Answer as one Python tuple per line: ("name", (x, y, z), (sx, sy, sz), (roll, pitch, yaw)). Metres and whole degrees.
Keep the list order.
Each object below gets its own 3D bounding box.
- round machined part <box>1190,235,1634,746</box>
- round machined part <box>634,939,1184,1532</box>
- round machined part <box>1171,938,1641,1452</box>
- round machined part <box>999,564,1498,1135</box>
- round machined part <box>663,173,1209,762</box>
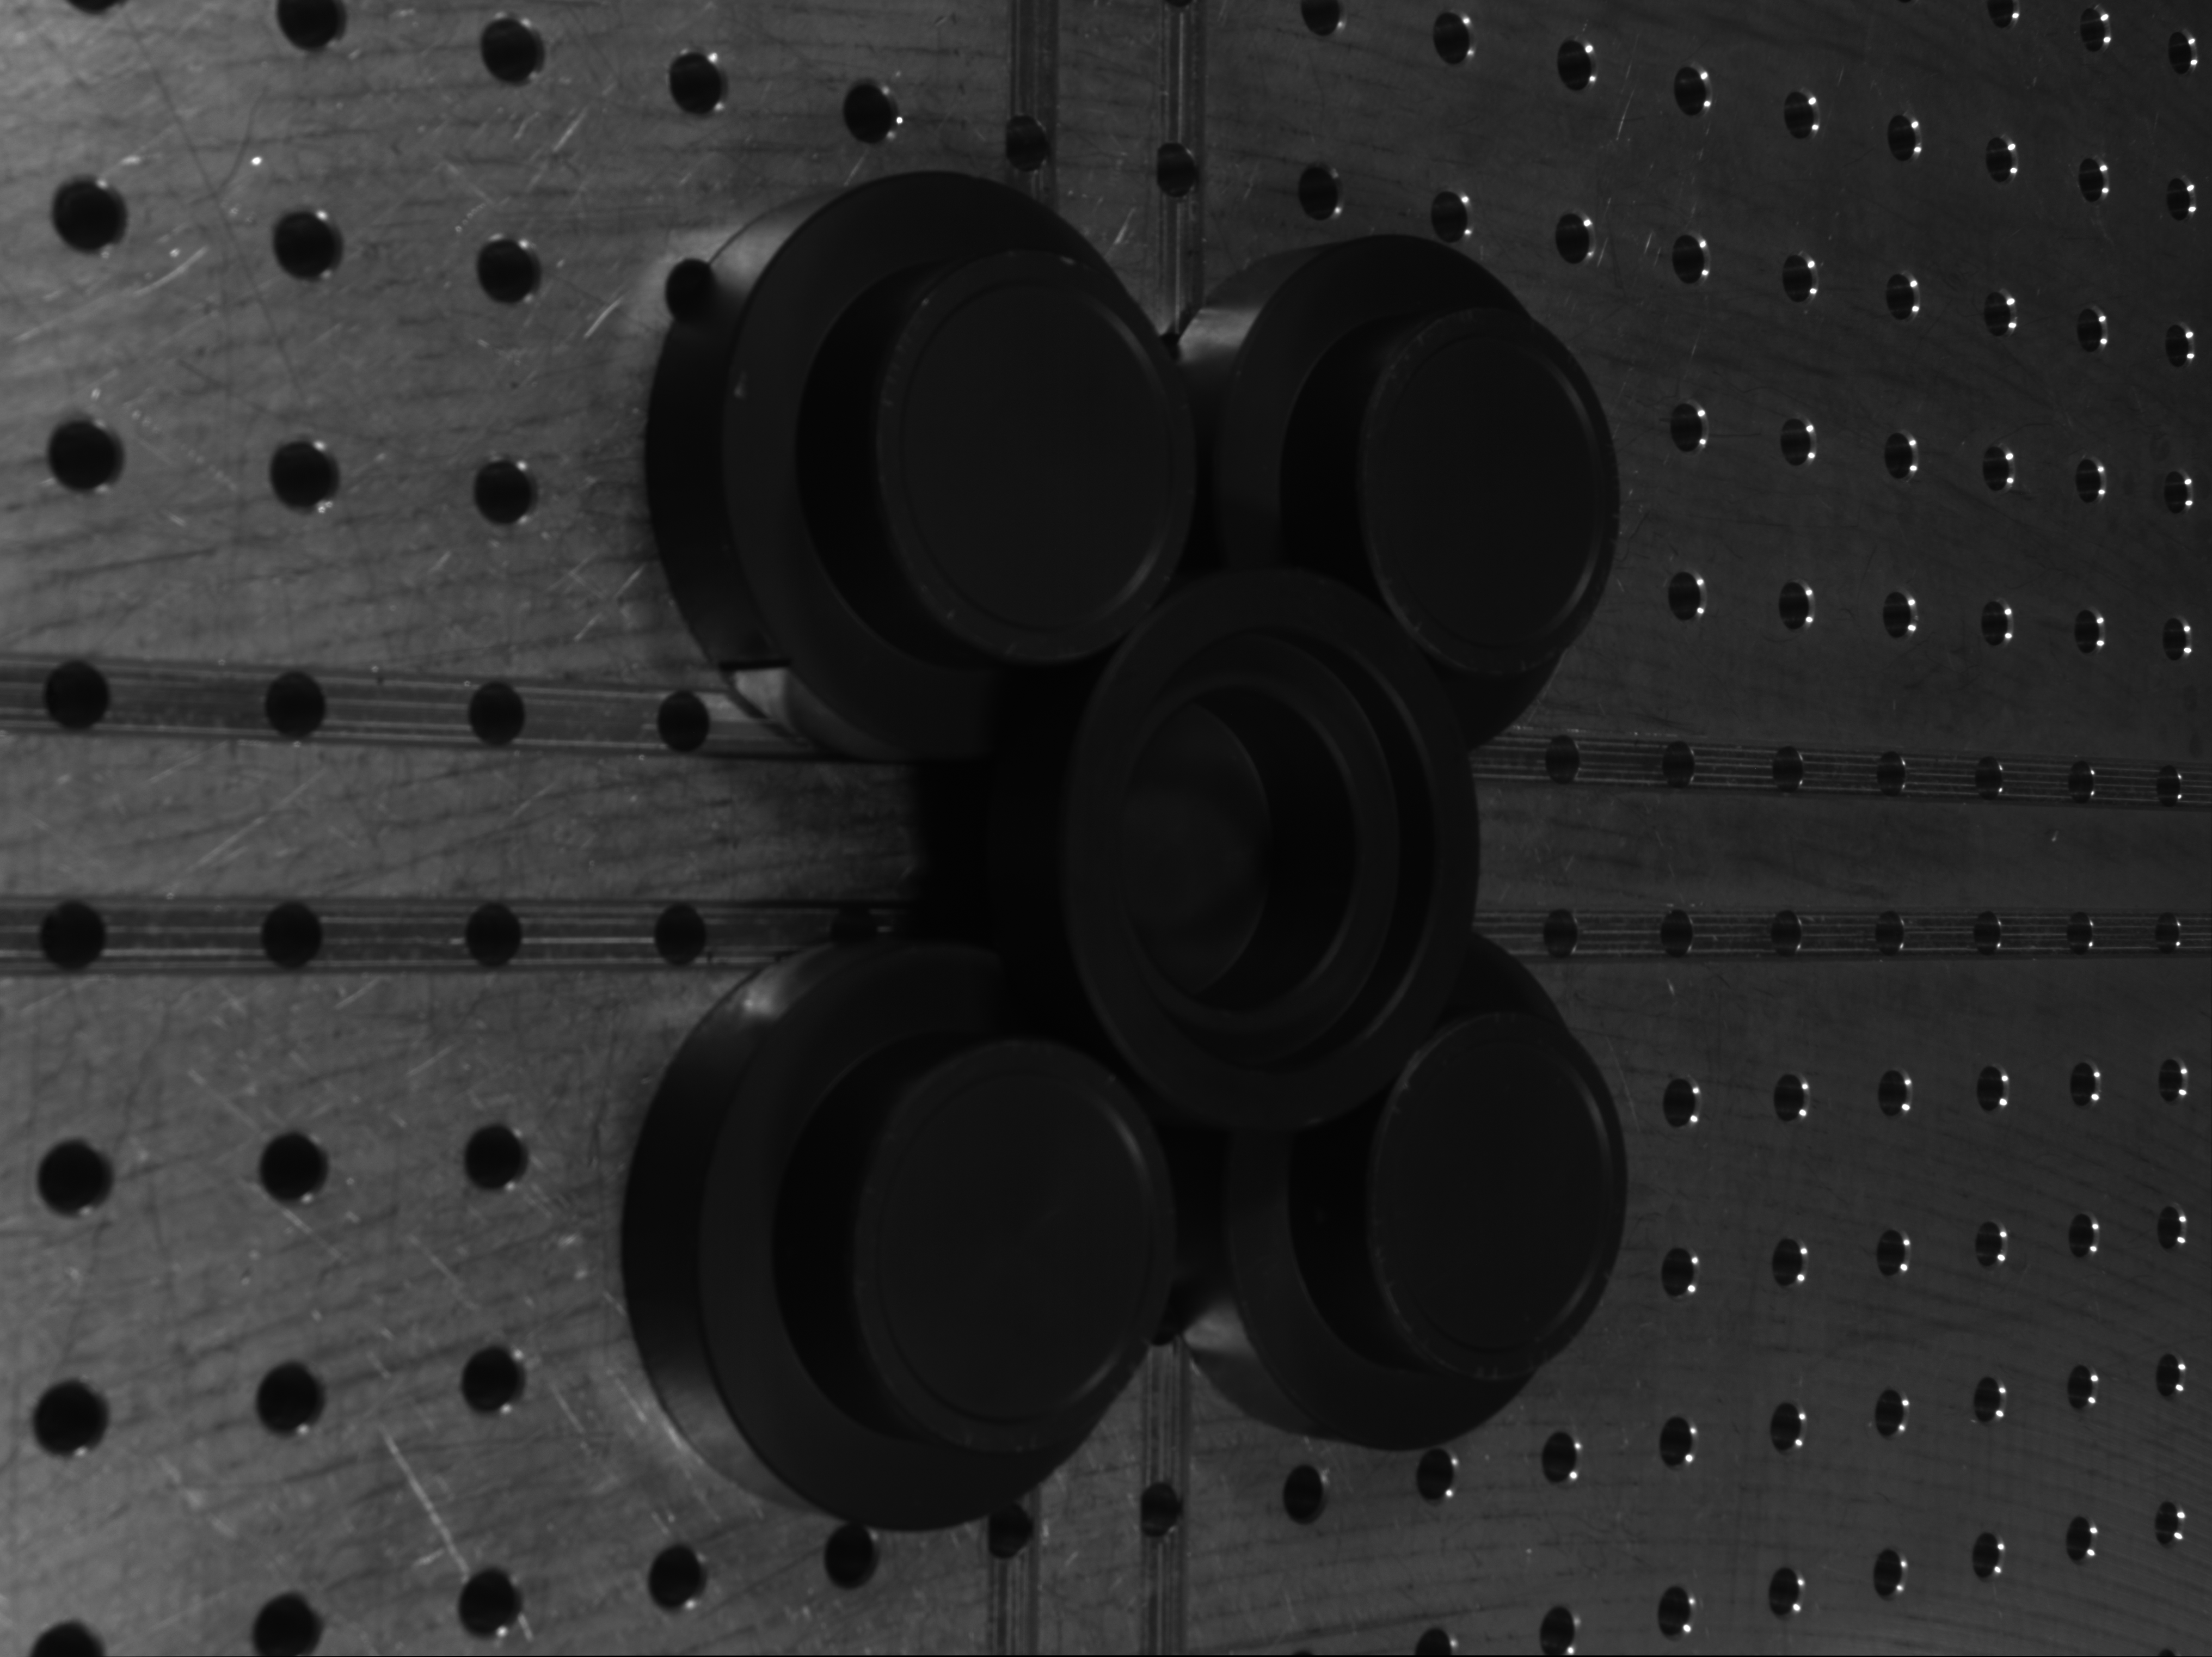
("round machined part", (0.060, -0.061, 0.678), (0.098, 0.042, 0.098), (0, 90, -40))
("round machined part", (-0.026, 0.068, 0.608), (0.098, 0.042, 0.098), (0, 90, -40))
("round machined part", (0.061, 0.067, 0.679), (0.098, 0.042, 0.098), (0, 90, -40))
("round machined part", (0.020, 0.004, 0.644), (0.098, 0.042, 0.098), (0, 90, -40))
("round machined part", (-0.022, -0.060, 0.611), (0.098, 0.042, 0.098), (0, 90, -40))
